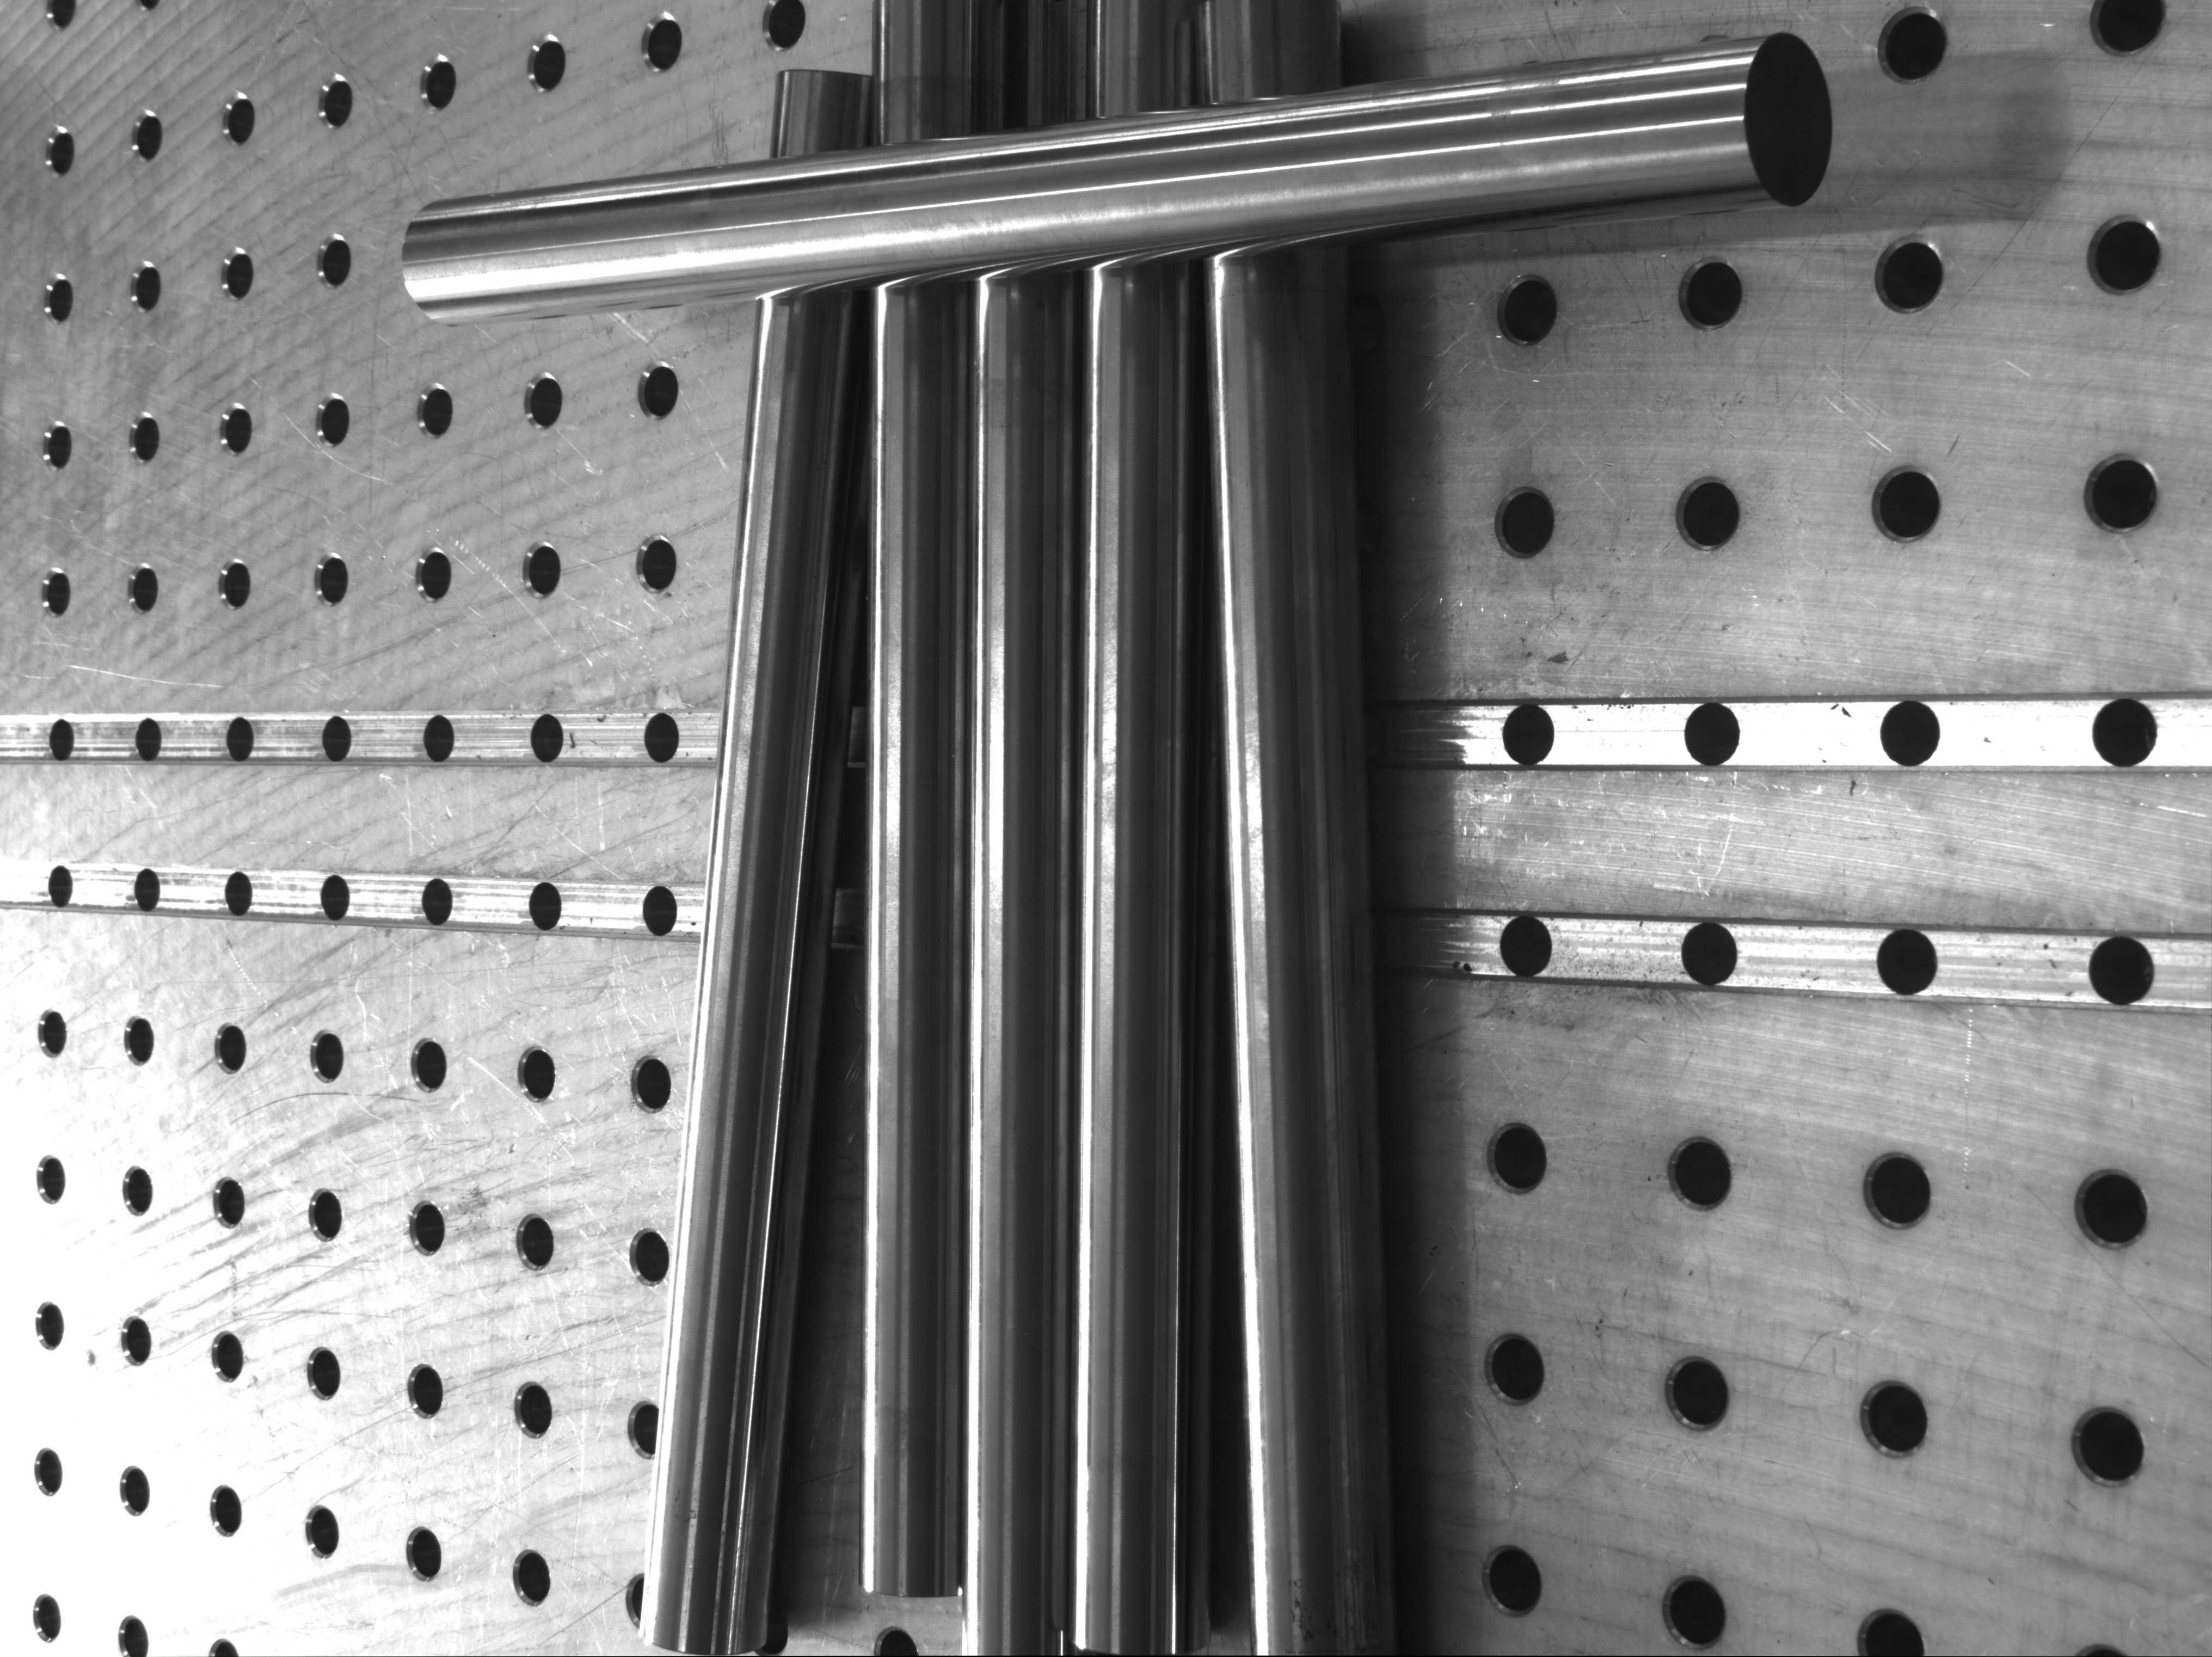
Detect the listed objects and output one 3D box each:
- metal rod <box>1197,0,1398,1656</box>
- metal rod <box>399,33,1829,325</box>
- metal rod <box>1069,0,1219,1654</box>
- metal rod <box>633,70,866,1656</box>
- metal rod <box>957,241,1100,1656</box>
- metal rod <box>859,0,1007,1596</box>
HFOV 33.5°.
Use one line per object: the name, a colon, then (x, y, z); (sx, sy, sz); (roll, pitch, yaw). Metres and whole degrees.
metal rod: (0.033, 0.010, 0.622); (0.025, 0.025, 0.300); (-3, 88, 40)
metal rod: (-0.016, -0.107, 0.629); (0.299, 0.025, 0.025); (2, 91, 40)
metal rod: (0.008, -0.008, 0.644); (0.025, 0.025, 0.300); (1, 91, 40)
metal rod: (-0.065, 0.008, 0.702); (0.025, 0.025, 0.300); (9, 96, 40)
metal rod: (-0.014, 0.045, 0.660); (0.025, 0.025, 0.300); (1, 91, 40)
metal rod: (-0.032, -0.011, 0.676); (0.025, 0.025, 0.300); (1, 90, 40)
